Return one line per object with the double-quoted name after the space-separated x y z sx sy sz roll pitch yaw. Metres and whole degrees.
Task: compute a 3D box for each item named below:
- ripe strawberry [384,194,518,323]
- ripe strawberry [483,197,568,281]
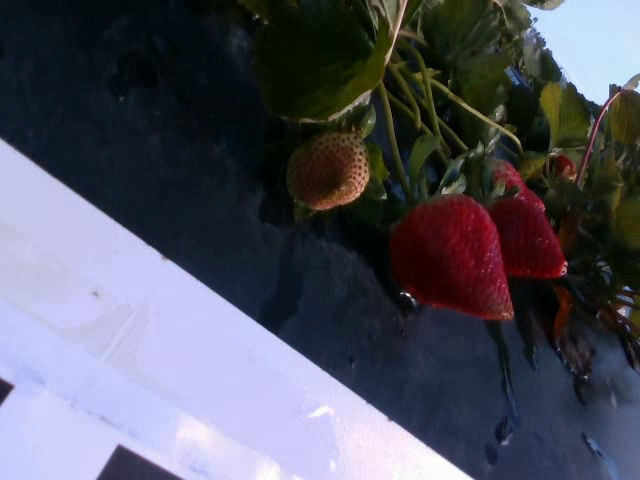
0.056 0.009 0.233 0.050 0.050 0.065 -4 35 -28 "ripe strawberry"
0.102 0.004 0.305 0.044 0.042 0.055 -30 51 -26 "ripe strawberry"
